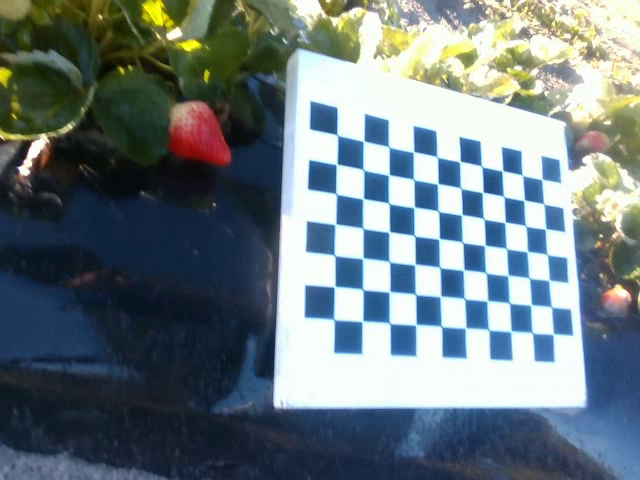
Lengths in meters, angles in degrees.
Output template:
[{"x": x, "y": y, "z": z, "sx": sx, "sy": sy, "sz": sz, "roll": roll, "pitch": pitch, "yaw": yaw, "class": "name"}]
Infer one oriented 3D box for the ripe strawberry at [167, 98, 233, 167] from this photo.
[{"x": -0.093, "y": -0.081, "z": 0.450, "sx": 0.040, "sy": 0.065, "sz": 0.040, "roll": -49, "pitch": 10, "yaw": -30, "class": "ripe strawberry"}]
